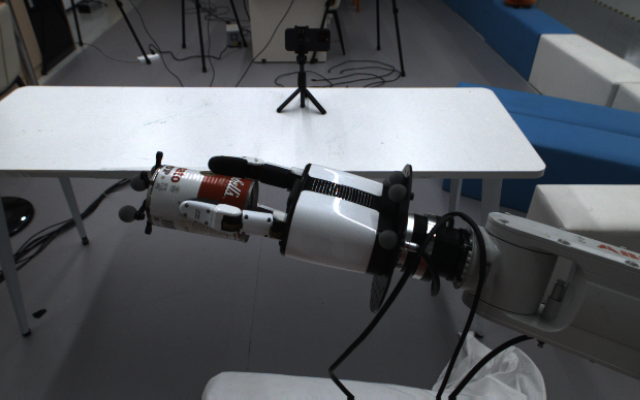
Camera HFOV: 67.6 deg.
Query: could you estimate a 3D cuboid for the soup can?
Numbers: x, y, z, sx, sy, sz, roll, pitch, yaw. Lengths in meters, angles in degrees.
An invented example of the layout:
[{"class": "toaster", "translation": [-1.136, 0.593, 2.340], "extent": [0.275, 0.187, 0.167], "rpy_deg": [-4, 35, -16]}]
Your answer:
[{"class": "soup can", "translation": [-0.120, 0.004, 0.515], "extent": [0.101, 0.067, 0.067], "rpy_deg": [10, 35, 0]}]
